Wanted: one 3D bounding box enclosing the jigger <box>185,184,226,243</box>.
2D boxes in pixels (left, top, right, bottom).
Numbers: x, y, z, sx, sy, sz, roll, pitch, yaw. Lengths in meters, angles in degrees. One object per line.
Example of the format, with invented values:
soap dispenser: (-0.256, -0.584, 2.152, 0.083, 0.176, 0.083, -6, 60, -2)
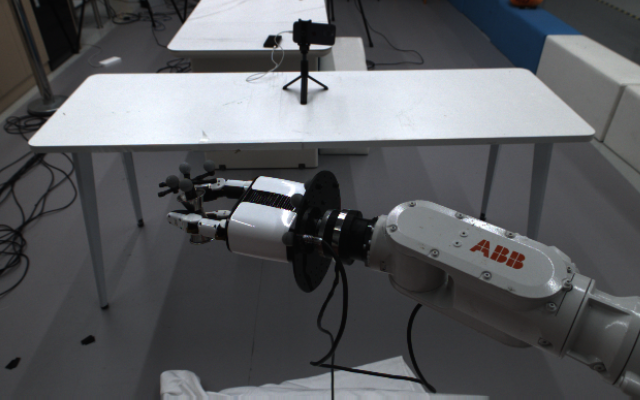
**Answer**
jigger: (-0.170, 0.021, 0.687, 0.043, 0.071, 0.043, -10, 24, 4)
